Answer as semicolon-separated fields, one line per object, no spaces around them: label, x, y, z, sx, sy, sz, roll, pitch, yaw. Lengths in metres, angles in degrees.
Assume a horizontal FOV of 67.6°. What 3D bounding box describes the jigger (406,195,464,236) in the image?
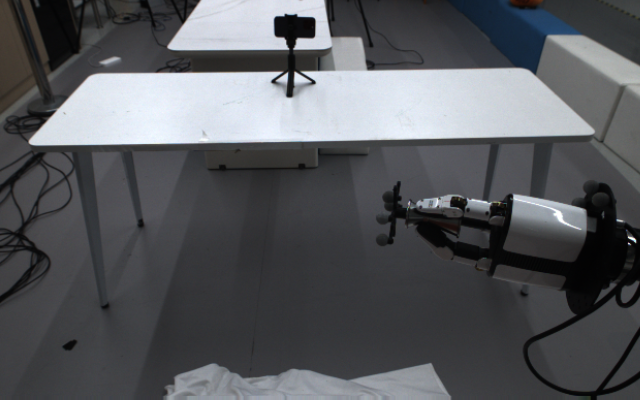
jigger;0.154;0.017;0.627;0.071;0.043;0.043;8;35;14
